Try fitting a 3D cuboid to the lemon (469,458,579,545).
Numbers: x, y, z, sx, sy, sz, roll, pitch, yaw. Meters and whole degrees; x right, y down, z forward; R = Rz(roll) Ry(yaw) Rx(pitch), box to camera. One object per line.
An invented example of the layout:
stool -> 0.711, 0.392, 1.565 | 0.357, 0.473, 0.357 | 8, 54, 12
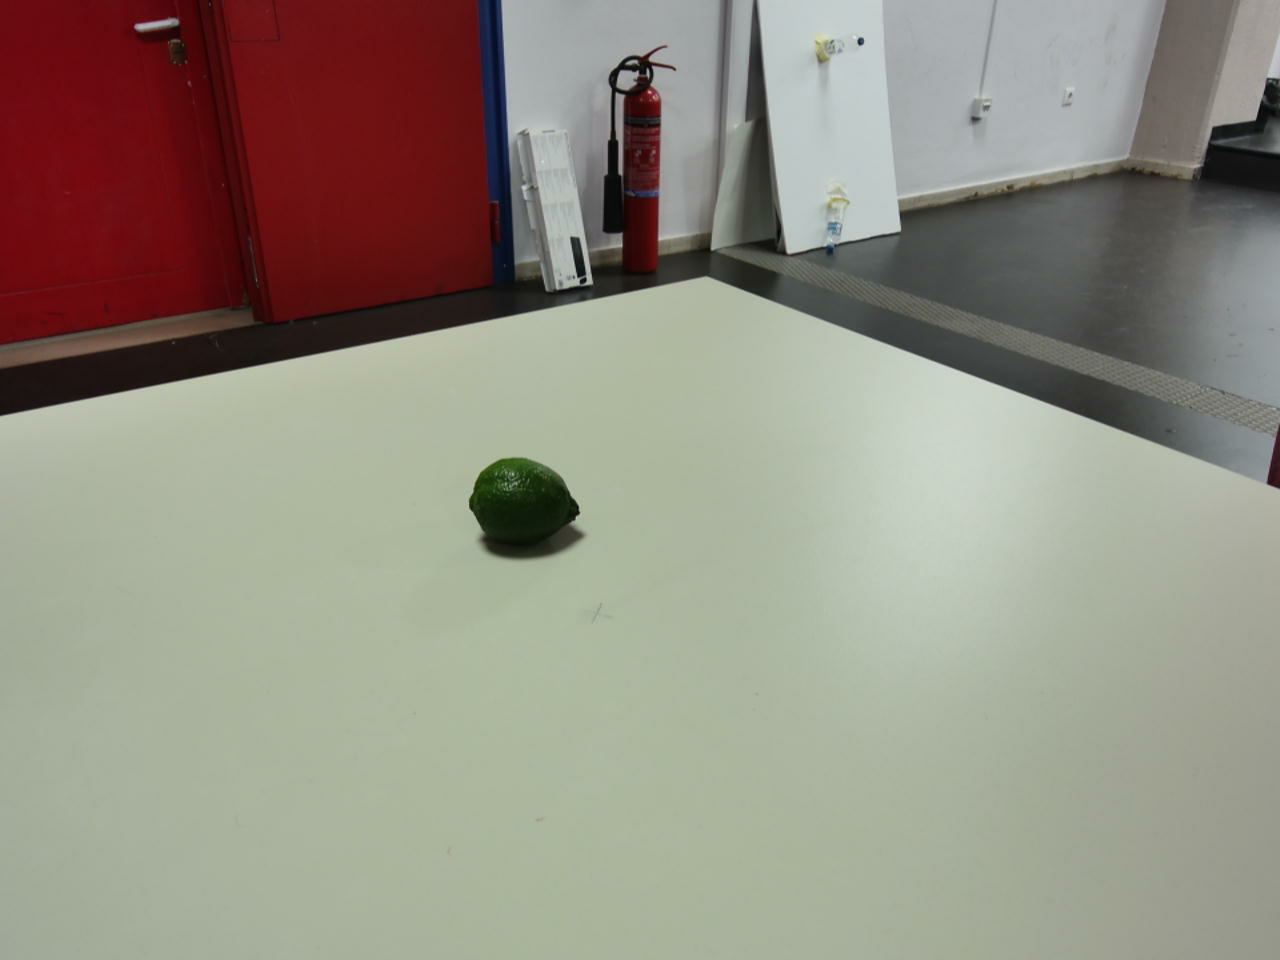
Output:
lemon -> -0.071, 0.012, 0.588 | 0.057, 0.051, 0.054 | -20, 32, -36
